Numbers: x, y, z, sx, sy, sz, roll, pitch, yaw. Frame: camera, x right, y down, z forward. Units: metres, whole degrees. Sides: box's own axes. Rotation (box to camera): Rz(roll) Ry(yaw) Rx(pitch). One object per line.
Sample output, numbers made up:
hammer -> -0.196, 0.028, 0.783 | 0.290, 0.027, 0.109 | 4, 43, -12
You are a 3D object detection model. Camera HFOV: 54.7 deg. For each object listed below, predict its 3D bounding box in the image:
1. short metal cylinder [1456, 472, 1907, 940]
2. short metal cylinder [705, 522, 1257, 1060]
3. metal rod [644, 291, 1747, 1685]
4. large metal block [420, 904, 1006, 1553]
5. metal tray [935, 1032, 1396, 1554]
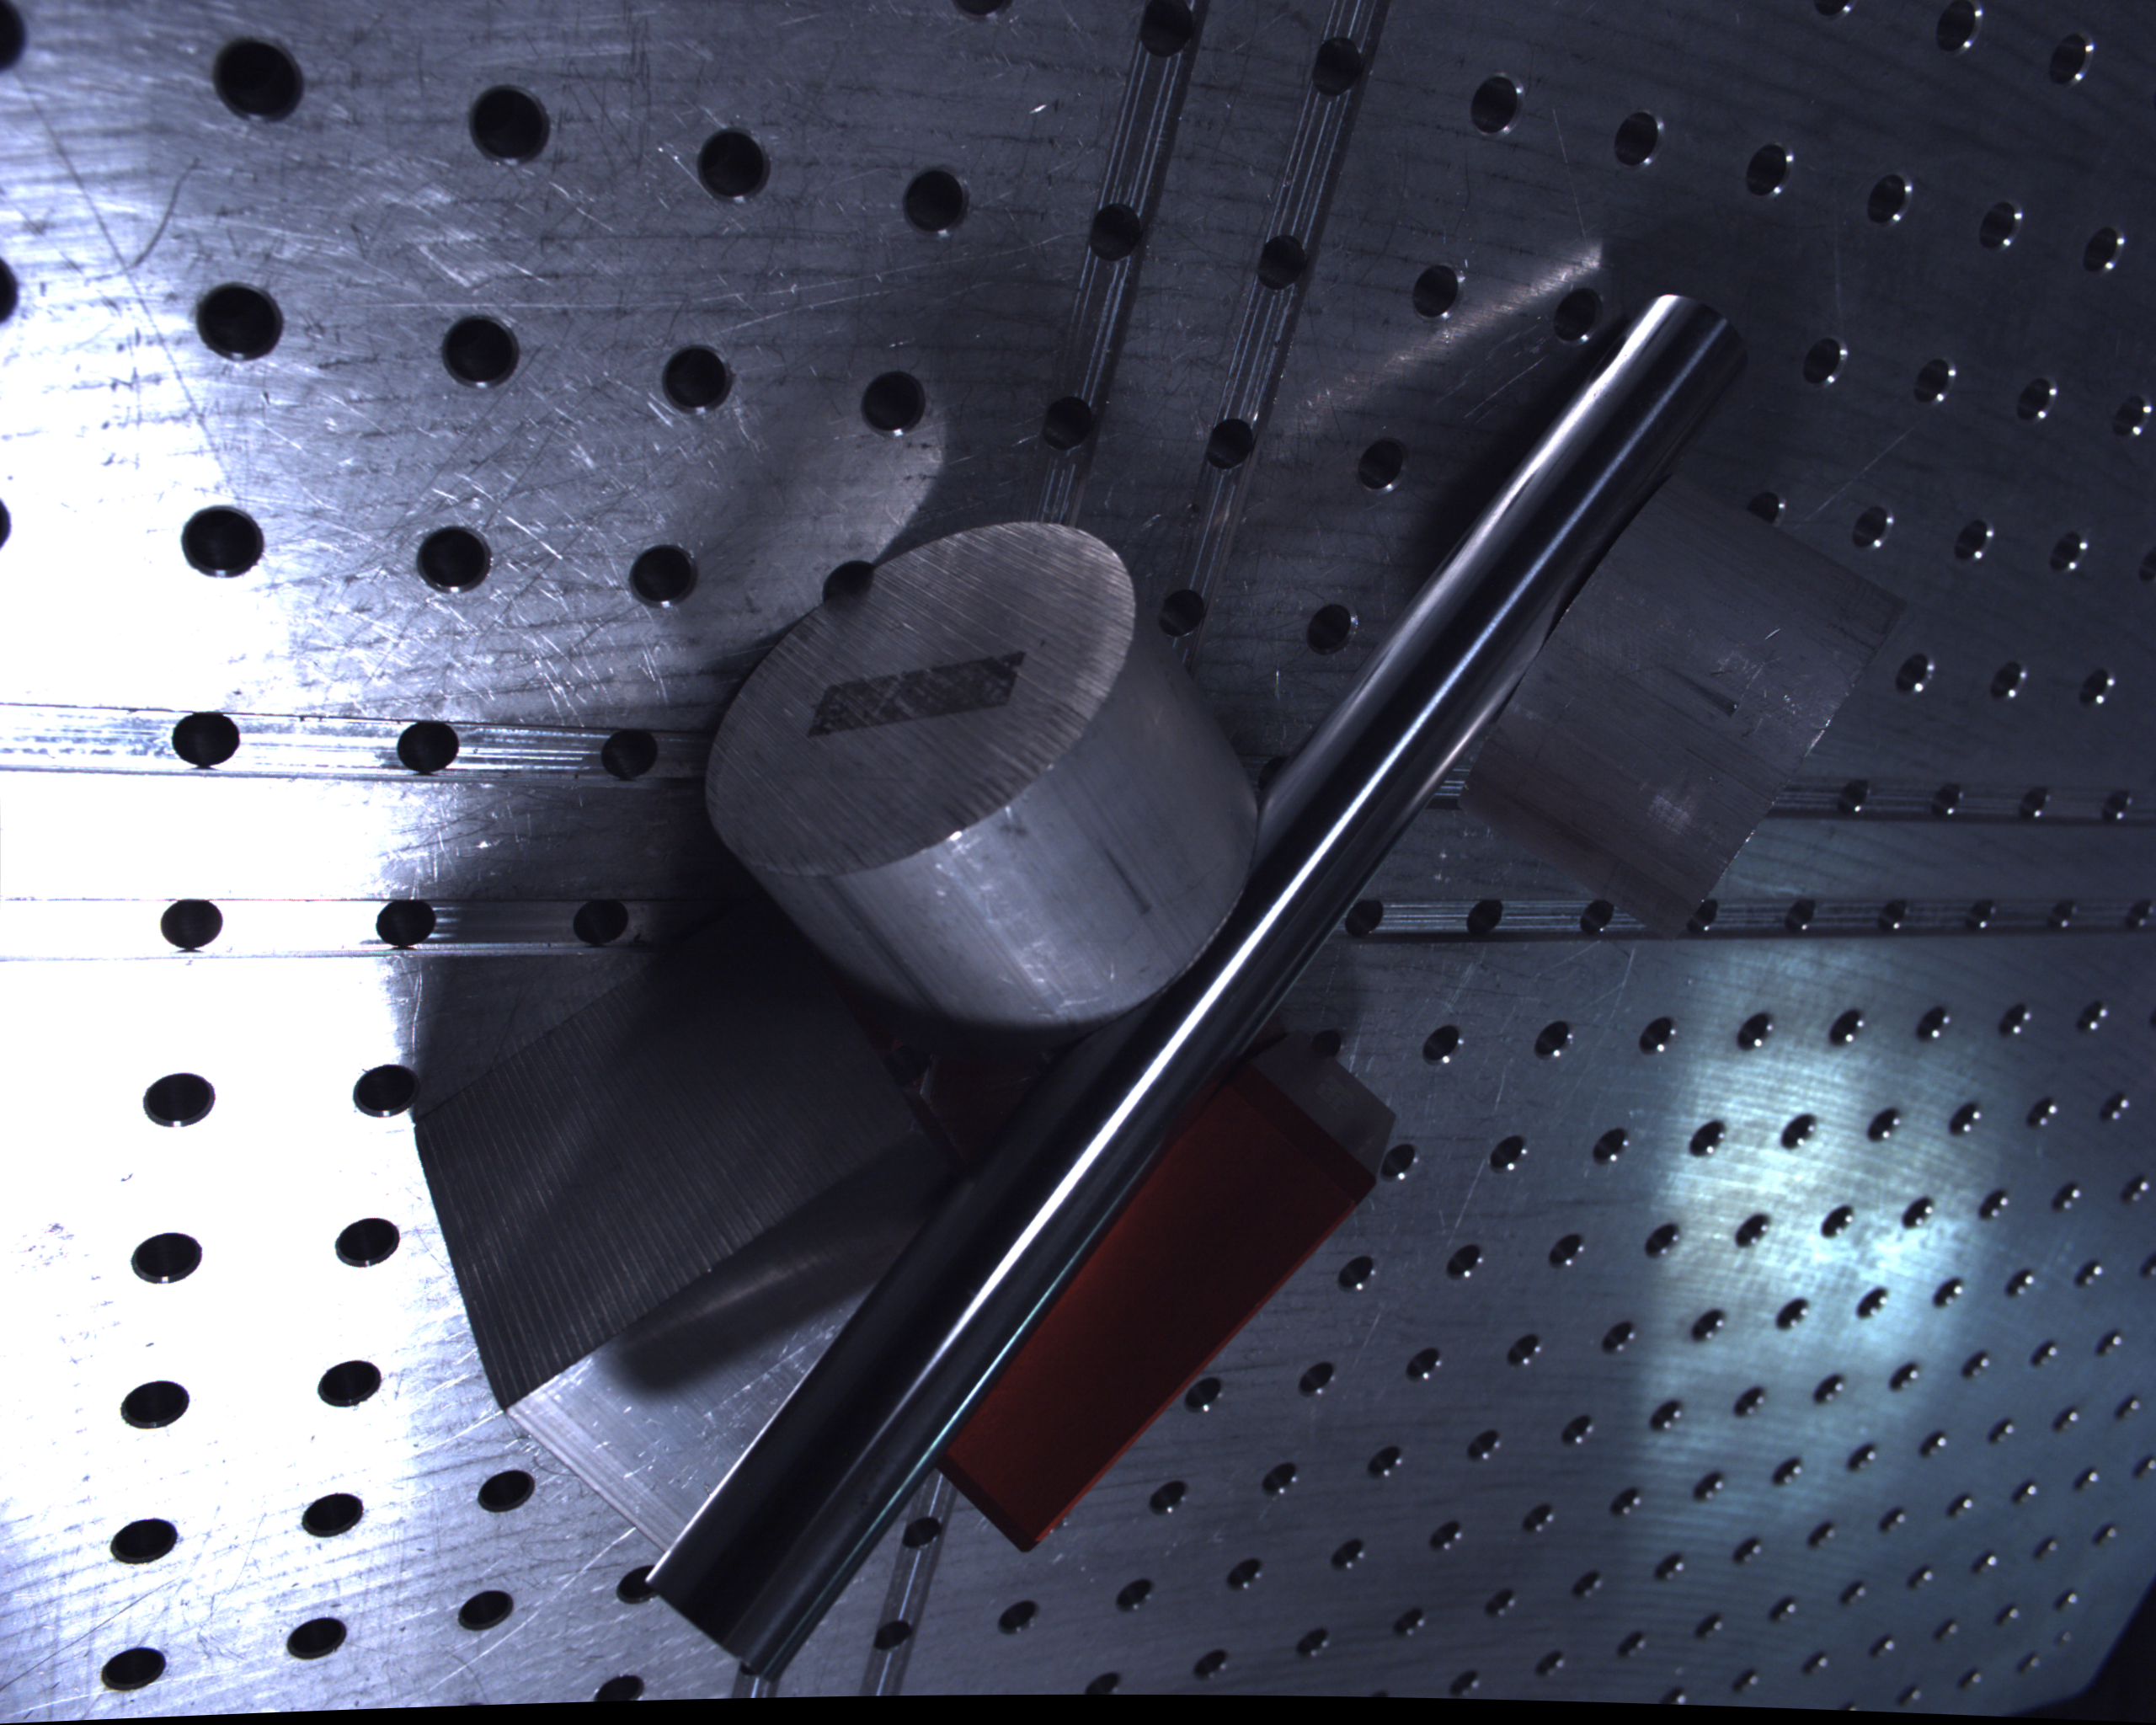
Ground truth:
short metal cylinder -> 0.120, -0.031, 0.418 | 0.080, 0.050, 0.080 | -51, 166, -17
short metal cylinder -> -0.016, -0.013, 0.360 | 0.080, 0.080, 0.050 | -37, 130, -4
metal rod -> 0.033, 0.006, 0.365 | 0.301, 0.025, 0.025 | -51, 132, -20
large metal block -> -0.064, 0.064, 0.381 | 0.080, 0.080, 0.050 | -34, 129, -6
metal tray -> 0.021, 0.079, 0.419 | 0.090, 0.030, 0.130 | -48, 171, 6
